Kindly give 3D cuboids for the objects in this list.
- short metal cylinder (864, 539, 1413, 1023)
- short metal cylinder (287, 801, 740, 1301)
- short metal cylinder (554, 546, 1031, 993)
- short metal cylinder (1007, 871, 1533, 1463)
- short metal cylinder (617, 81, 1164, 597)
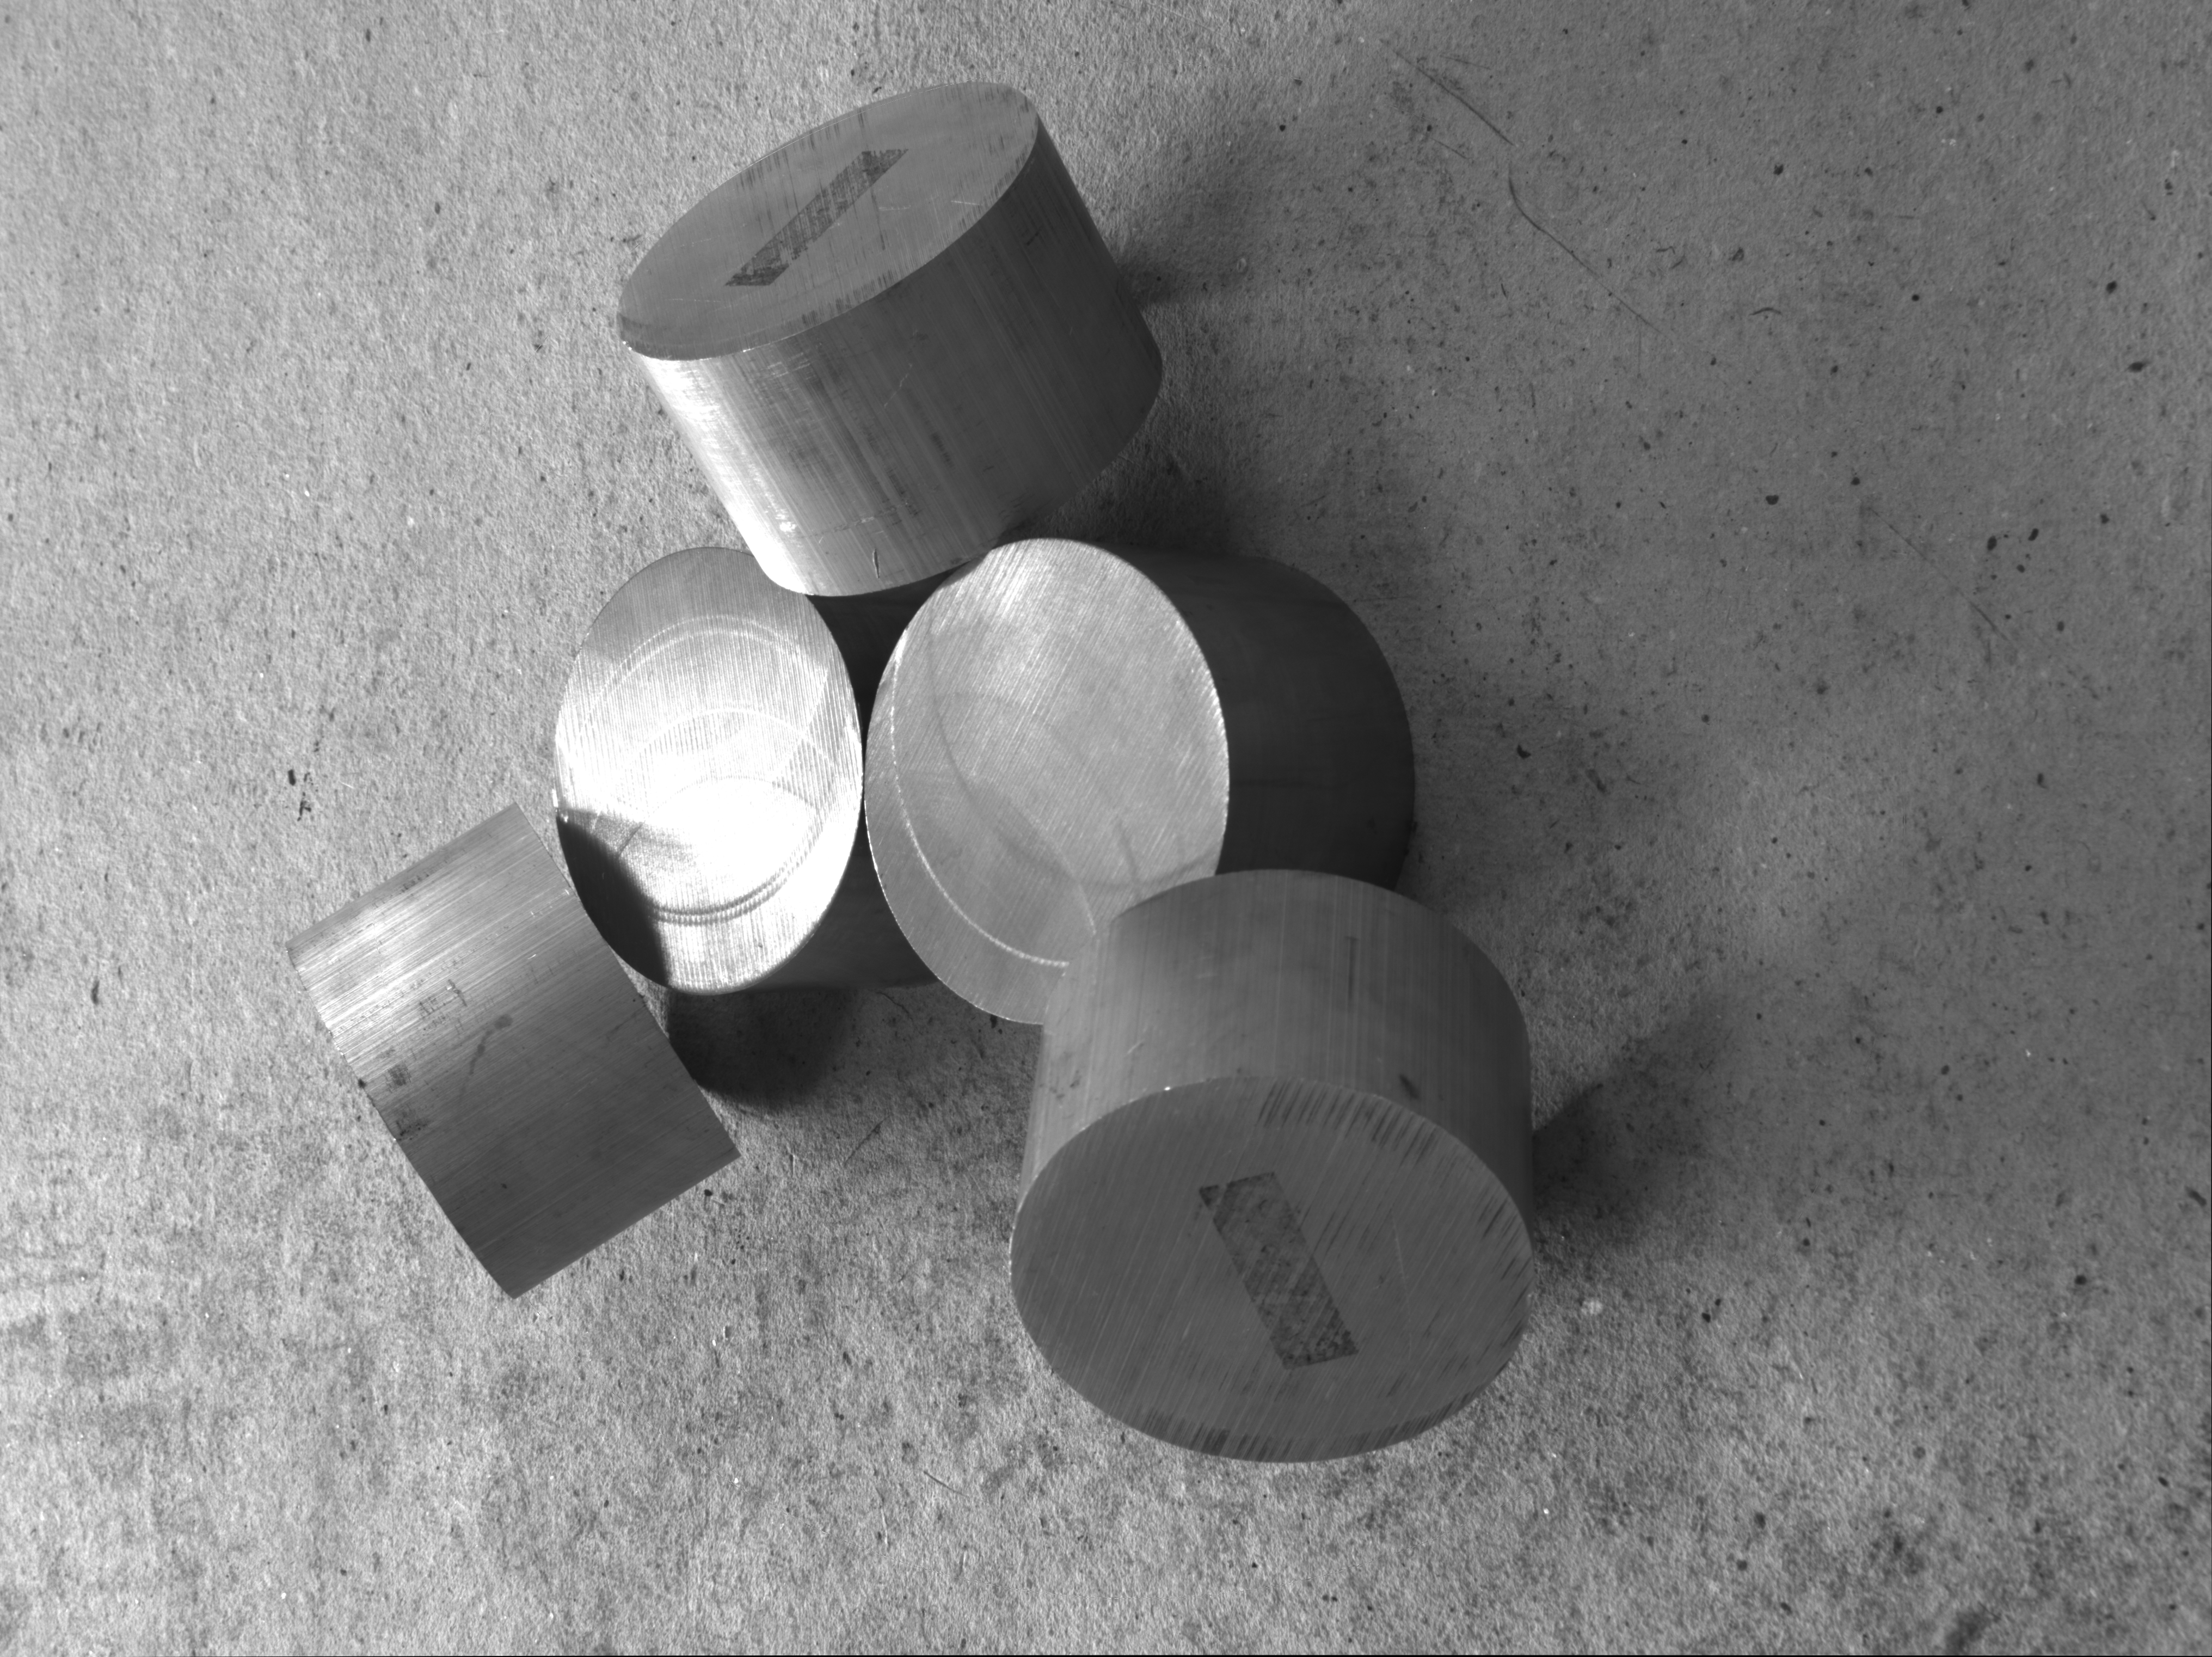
[{"bbox_3d":[0.005,-0.008,0.624,0.080,0.050,0.080,-1,89,40],"label":"short metal cylinder"},{"bbox_3d":[-0.112,0.042,0.695,0.050,0.080,0.080,-32,63,-8],"label":"short metal cylinder"},{"bbox_3d":[-0.056,-0.010,0.676,0.080,0.050,0.080,-1,89,40],"label":"short metal cylinder"},{"bbox_3d":[0.027,0.054,0.578,0.080,0.080,0.050,-45,21,31],"label":"short metal cylinder"},{"bbox_3d":[-0.037,-0.085,0.633,0.080,0.080,0.050,2,134,40],"label":"short metal cylinder"}]
